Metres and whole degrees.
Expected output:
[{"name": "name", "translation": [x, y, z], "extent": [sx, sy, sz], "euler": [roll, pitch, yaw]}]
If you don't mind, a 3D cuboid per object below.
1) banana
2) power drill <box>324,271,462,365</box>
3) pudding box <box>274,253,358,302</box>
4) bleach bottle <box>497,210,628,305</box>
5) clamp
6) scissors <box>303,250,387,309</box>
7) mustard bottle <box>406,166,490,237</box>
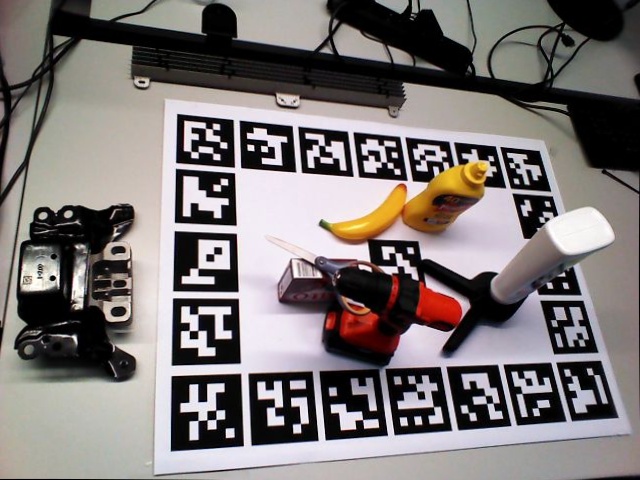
[{"name": "banana", "translation": [0.108, -0.063, 0.917], "extent": [0.196, 0.039, 0.074], "euler": [-37, 65, -27]}, {"name": "power drill", "translation": [0.076, 0.109, 0.720], "extent": [0.184, 0.188, 0.057], "euler": [15, 56, -8]}, {"name": "pudding box", "translation": [-0.007, 0.060, 0.804], "extent": [0.114, 0.090, 0.038], "euler": [8, 58, -15]}, {"name": "bleach bottle", "translation": [0.356, 0.046, 0.816], "extent": [0.102, 0.252, 0.068], "euler": [-17, 69, -16]}, {"name": "clamp", "translation": [0.294, 0.100, 0.893], "extent": [0.202, 0.037, 0.165], "euler": [-2, 70, -20]}, {"name": "scissors", "translation": [0.002, 0.027, 0.748], "extent": [0.203, 0.016, 0.087], "euler": [28, 66, -9]}, {"name": "mustard bottle", "translation": [0.230, -0.069, 0.883], "extent": [0.096, 0.193, 0.058], "euler": [17, 62, -11]}]
